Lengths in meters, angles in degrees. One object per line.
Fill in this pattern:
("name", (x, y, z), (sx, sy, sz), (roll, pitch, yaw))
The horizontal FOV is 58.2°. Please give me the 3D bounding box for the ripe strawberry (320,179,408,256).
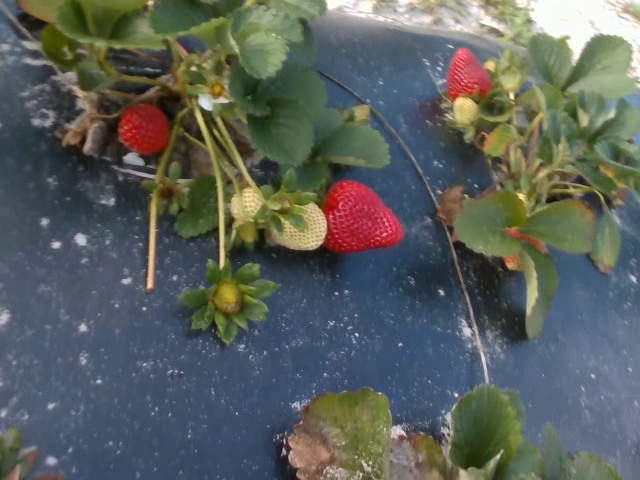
("ripe strawberry", (0.029, -0.008, 0.367), (0.055, 0.051, 0.048), (30, -2, 25))
